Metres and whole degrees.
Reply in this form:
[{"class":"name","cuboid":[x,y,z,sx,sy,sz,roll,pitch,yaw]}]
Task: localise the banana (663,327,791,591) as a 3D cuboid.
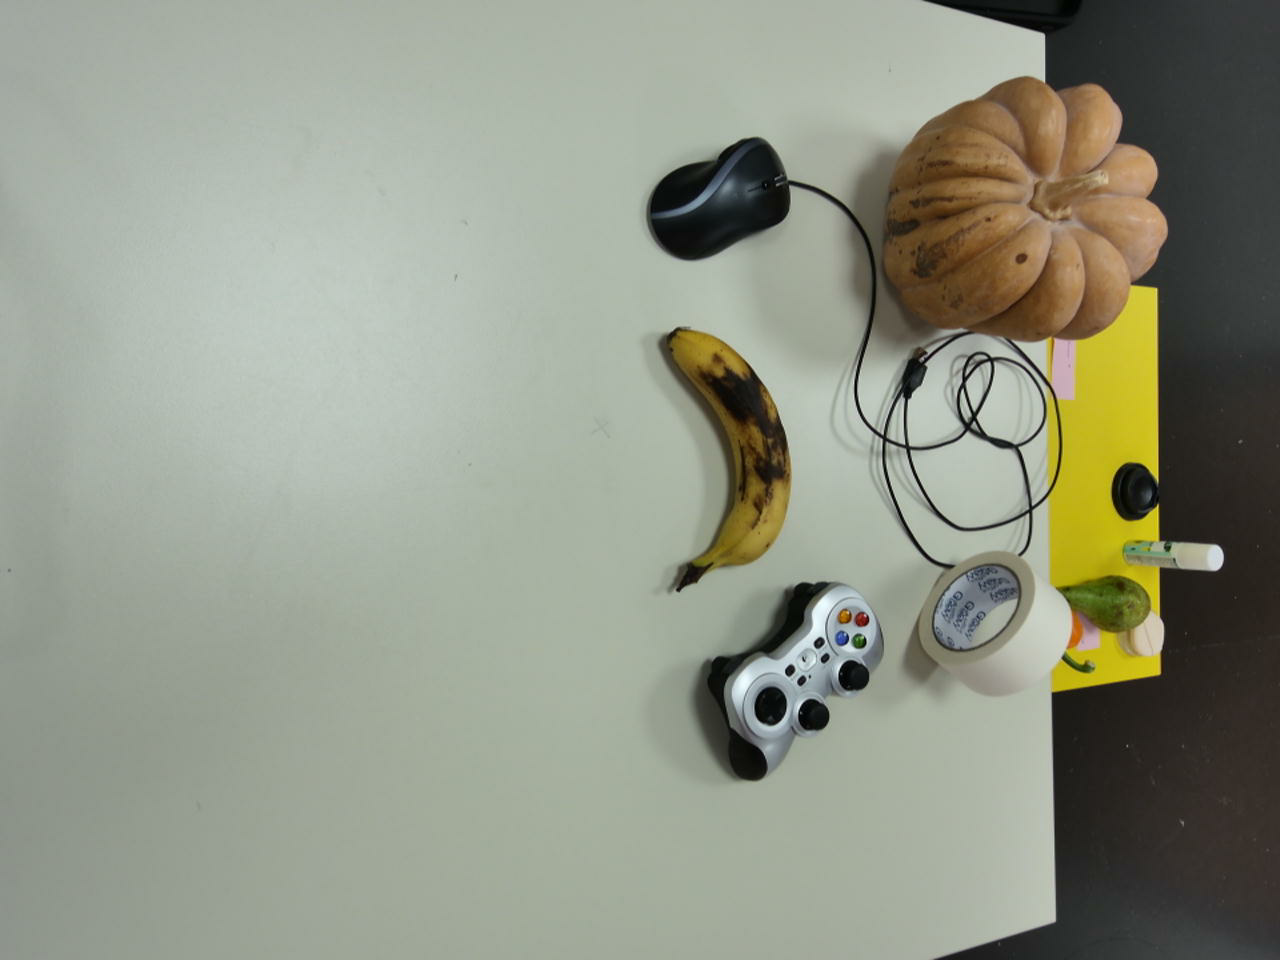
[{"class":"banana","cuboid":[0.065,-0.017,0.720,0.094,0.039,0.187,-2,91,-28]}]
